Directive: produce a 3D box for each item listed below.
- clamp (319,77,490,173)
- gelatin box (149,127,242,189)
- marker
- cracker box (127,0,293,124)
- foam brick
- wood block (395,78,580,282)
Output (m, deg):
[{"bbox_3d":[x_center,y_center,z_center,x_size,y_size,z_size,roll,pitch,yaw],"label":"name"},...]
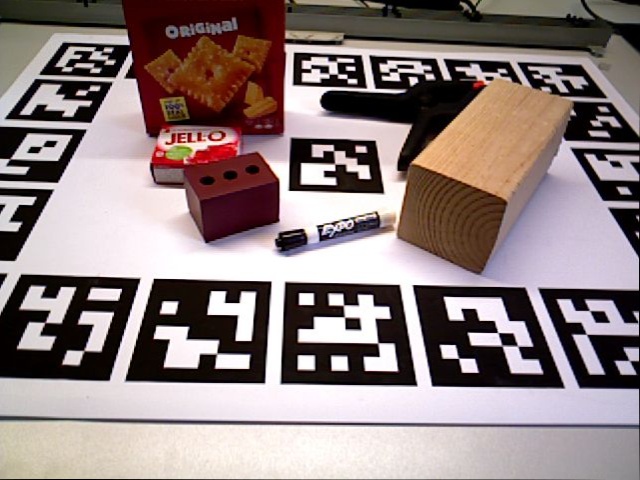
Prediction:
[{"bbox_3d":[0.123,-0.158,0.644,0.199,0.037,0.164,-23,52,-22],"label":"clamp"},{"bbox_3d":[-0.128,-0.088,0.572,0.089,0.031,0.072,0,48,-2],"label":"gelatin box"},{"bbox_3d":[0.003,-0.004,0.499,0.119,0.020,0.019,-13,50,-15],"label":"marker"},{"bbox_3d":[-0.110,-0.229,0.569,0.163,0.219,0.071,0,45,-6],"label":"cracker box"},{"bbox_3d":[-0.086,-0.038,0.507,0.077,0.052,0.052,-17,51,-18],"label":"foam brick"},{"bbox_3d":[0.165,-0.068,0.525,0.090,0.093,0.201,26,47,24],"label":"wood block"}]
